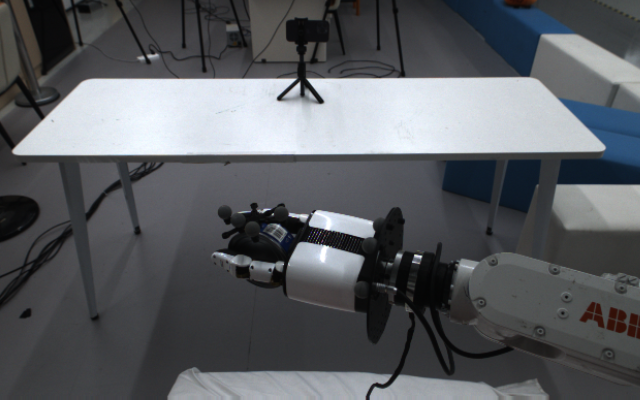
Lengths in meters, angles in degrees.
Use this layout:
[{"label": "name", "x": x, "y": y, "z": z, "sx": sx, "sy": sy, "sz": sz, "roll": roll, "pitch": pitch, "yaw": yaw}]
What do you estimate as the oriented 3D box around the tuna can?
[{"label": "tuna can", "x": -0.067, "y": 0.067, "z": 0.605, "sx": 0.085, "sy": 0.085, "sz": 0.034, "roll": 14, "pitch": 35, "yaw": 17}]
